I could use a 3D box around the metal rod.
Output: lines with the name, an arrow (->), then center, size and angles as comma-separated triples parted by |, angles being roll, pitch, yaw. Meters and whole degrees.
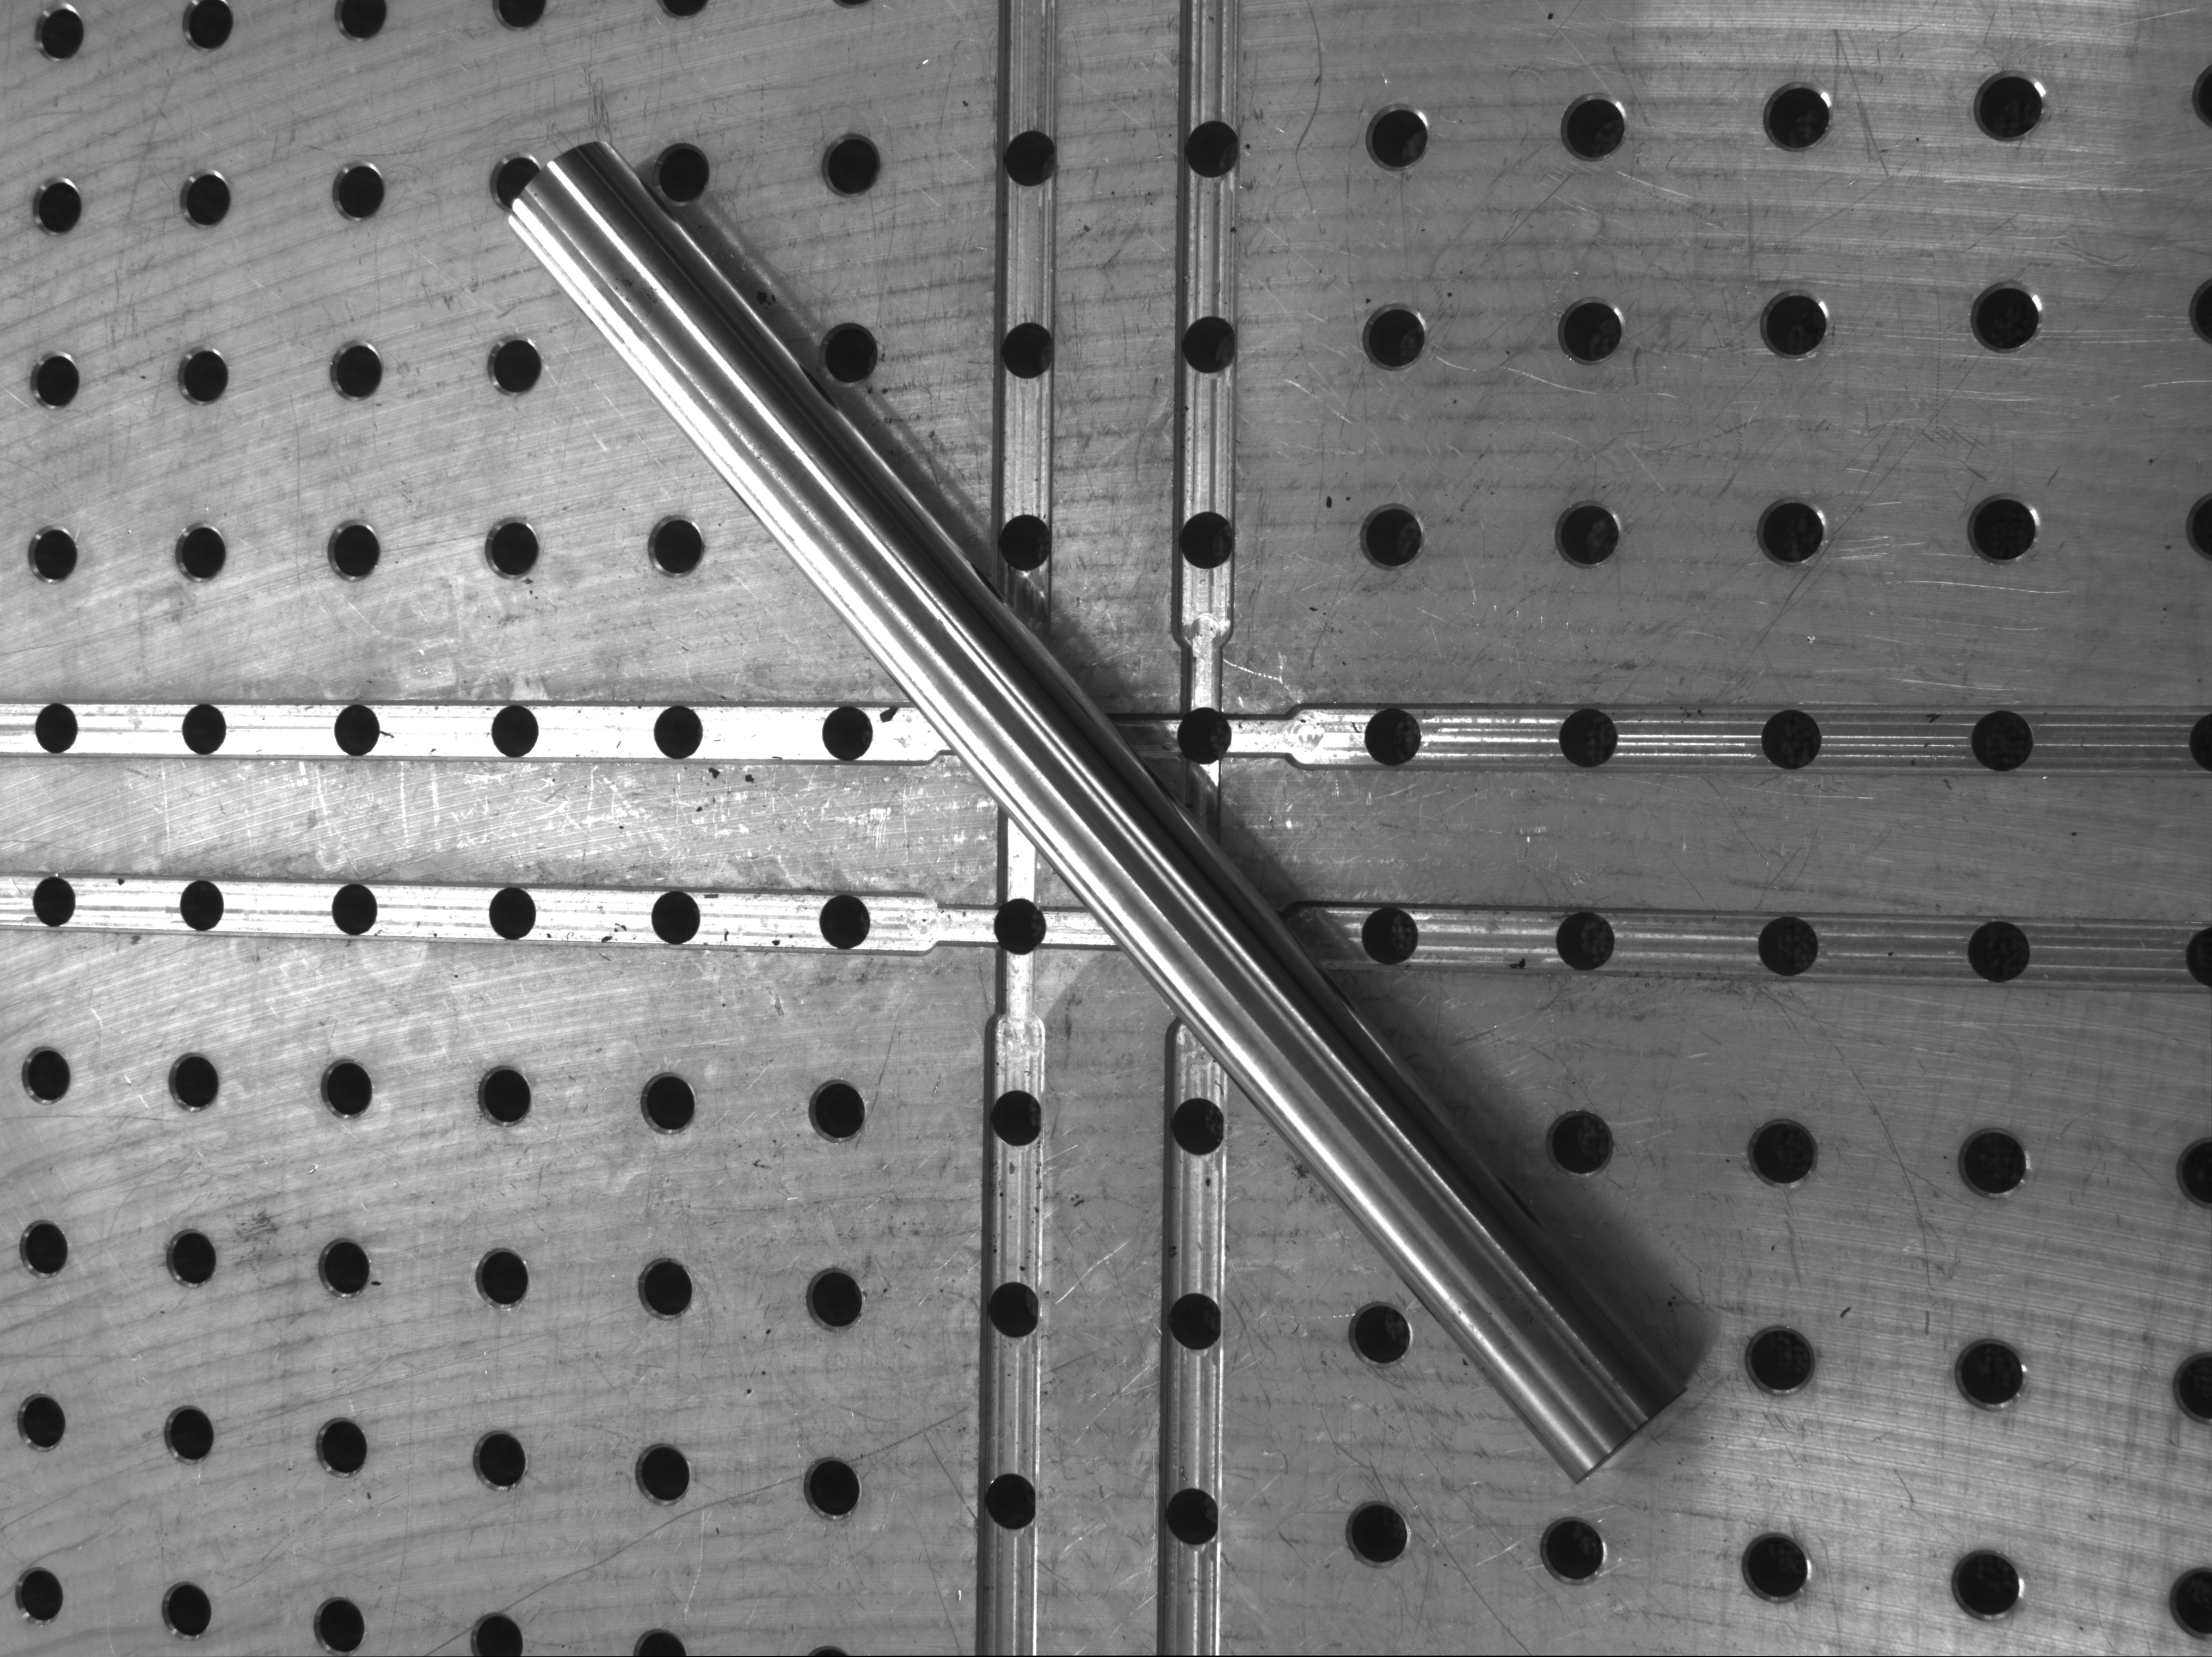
metal rod -> -0.007, -0.009, 0.652 | 0.025, 0.025, 0.300 | -44, 76, 15
